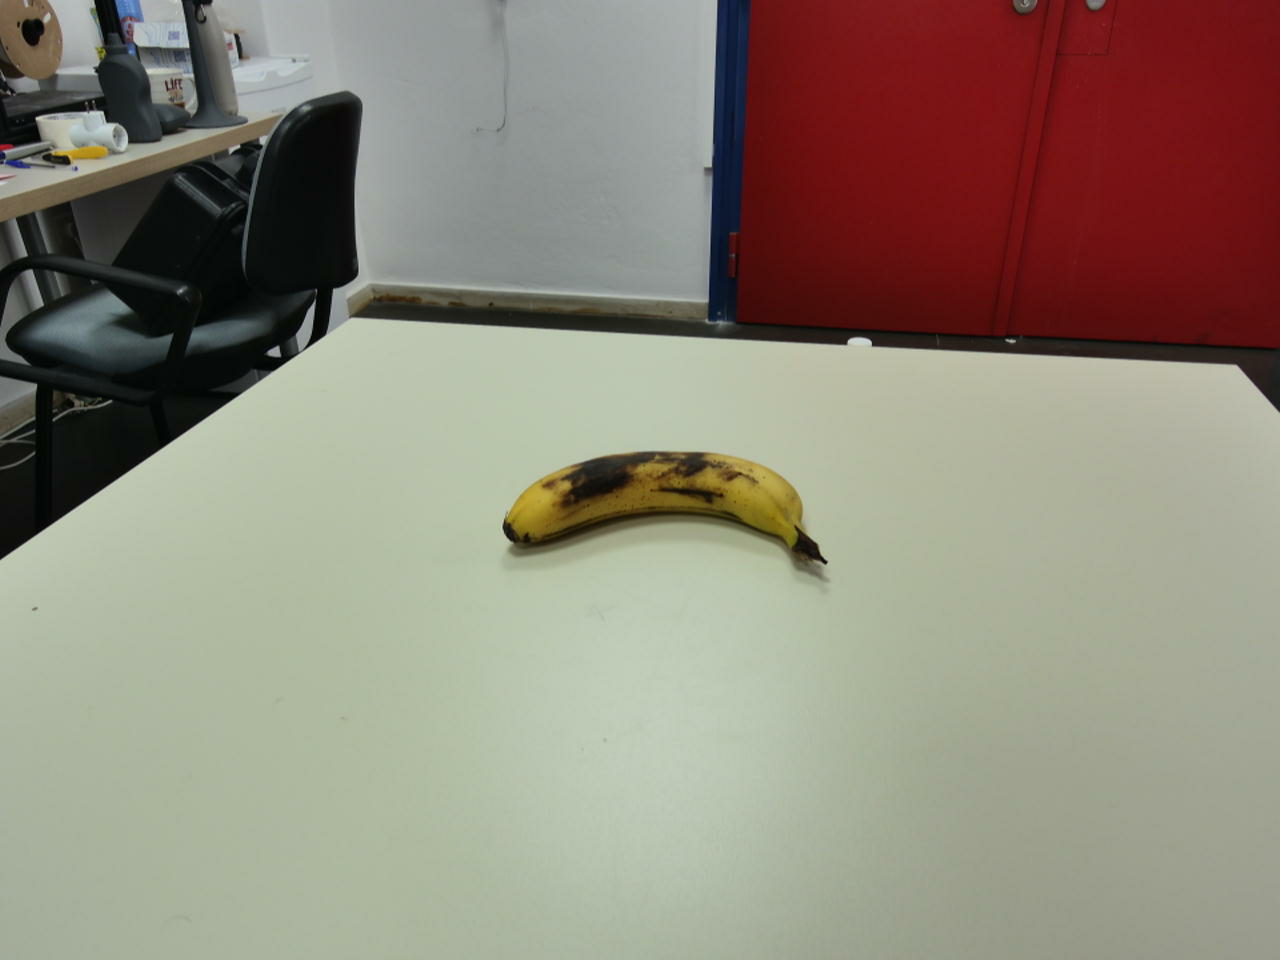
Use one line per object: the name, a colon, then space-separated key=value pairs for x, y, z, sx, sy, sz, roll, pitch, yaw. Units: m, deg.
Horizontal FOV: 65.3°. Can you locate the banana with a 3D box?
banana: x=0.017 y=0.013 z=0.605 sx=0.187 sy=0.039 sz=0.094 roll=5 pitch=26 yaw=9
